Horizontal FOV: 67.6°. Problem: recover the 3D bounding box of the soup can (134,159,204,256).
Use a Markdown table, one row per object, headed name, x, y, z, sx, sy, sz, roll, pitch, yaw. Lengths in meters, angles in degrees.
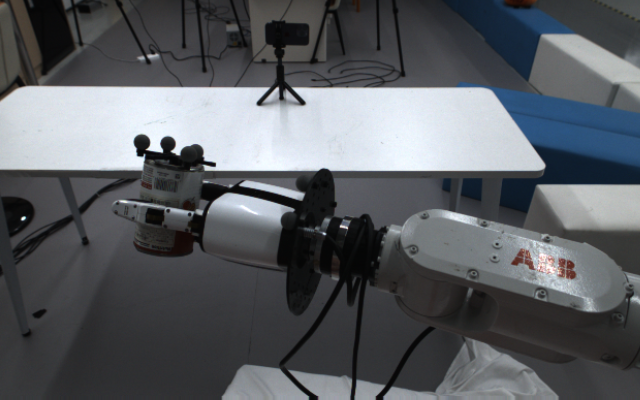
| name | x | y | z | sx | sy | sz | roll | pitch | yaw |
| --- | --- | --- | --- | --- | --- | --- | --- | --- | --- |
| soup can | -0.171 | 0.008 | 0.553 | 0.067 | 0.101 | 0.067 | 10 | 9 | -2 |
